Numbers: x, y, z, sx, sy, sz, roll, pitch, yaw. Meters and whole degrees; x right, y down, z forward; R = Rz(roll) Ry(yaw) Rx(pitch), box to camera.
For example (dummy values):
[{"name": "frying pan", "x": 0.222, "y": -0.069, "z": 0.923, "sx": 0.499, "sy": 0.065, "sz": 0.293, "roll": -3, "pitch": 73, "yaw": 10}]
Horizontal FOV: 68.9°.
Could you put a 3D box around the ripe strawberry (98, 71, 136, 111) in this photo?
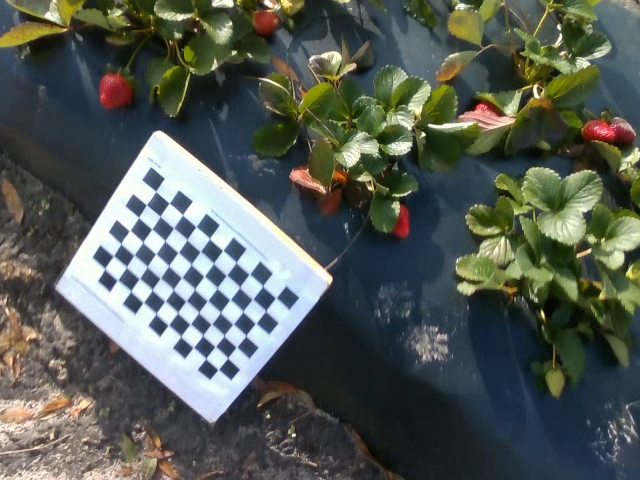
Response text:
[{"name": "ripe strawberry", "x": -0.217, "y": -0.149, "z": 0.499, "sx": 0.041, "sy": 0.041, "sz": 0.047, "roll": 12, "pitch": 46, "yaw": 18}]
